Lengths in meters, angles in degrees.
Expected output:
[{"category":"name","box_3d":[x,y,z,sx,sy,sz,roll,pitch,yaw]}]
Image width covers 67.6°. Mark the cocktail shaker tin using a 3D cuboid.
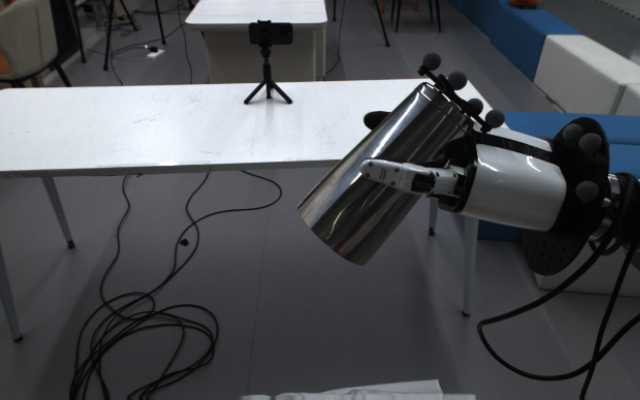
[{"category":"cocktail shaker tin","box_3d":[0.069,-0.032,0.478,0.093,0.170,0.093,41,12,-11]}]
